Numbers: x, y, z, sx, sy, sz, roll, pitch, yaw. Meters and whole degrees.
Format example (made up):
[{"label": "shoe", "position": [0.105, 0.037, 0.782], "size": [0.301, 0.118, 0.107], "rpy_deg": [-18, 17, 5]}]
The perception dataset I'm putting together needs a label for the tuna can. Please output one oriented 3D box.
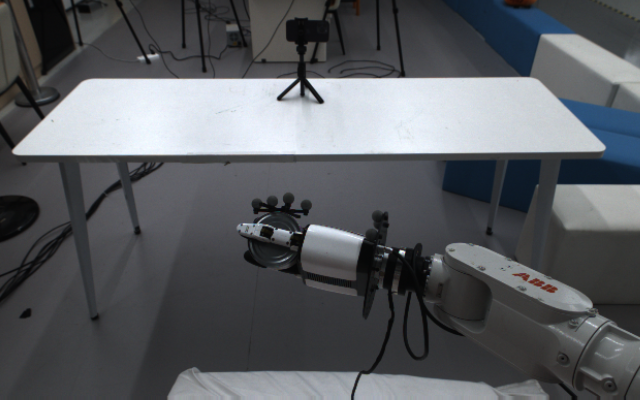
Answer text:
[{"label": "tuna can", "position": [-0.064, 0.063, 0.739], "size": [0.085, 0.034, 0.085], "rpy_deg": [-3, 73, 10]}]
